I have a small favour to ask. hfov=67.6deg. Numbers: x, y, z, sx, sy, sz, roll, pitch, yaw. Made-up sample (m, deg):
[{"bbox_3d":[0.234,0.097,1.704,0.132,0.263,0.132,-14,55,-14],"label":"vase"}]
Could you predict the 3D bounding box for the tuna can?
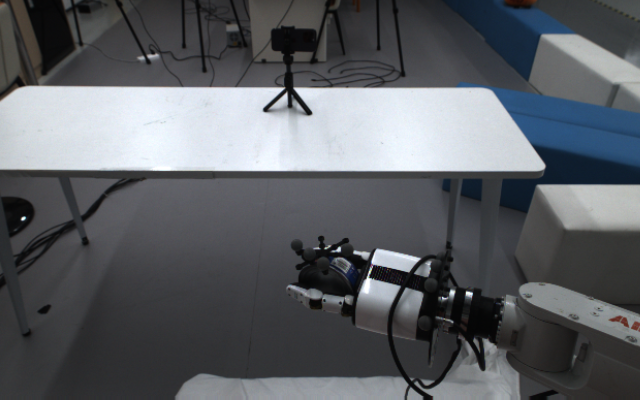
[{"bbox_3d":[0.016,0.115,0.691,0.085,0.085,0.034,17,37,20],"label":"tuna can"}]
